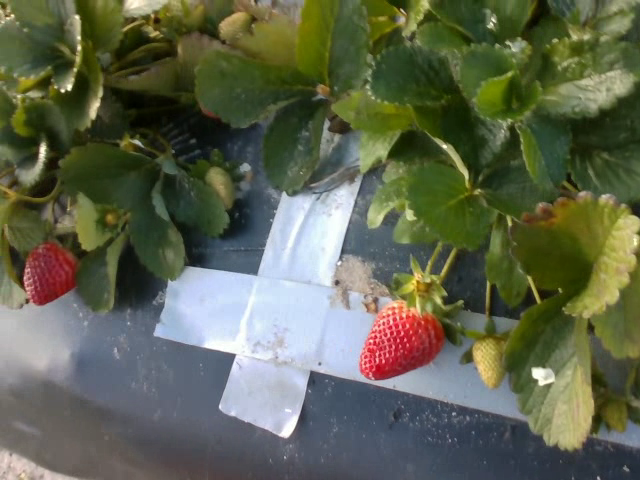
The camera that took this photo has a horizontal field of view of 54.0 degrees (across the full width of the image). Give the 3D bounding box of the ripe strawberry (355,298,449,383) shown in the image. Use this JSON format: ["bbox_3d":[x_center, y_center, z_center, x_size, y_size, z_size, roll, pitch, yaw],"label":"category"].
[{"bbox_3d":[0.019,0.027,0.158,0.023,0.026,0.021,25,-23,48],"label":"ripe strawberry"}]

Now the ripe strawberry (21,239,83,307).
[{"bbox_3d":[-0.089,0.013,0.206,0.018,0.023,0.020,0,-24,44],"label":"ripe strawberry"}]
